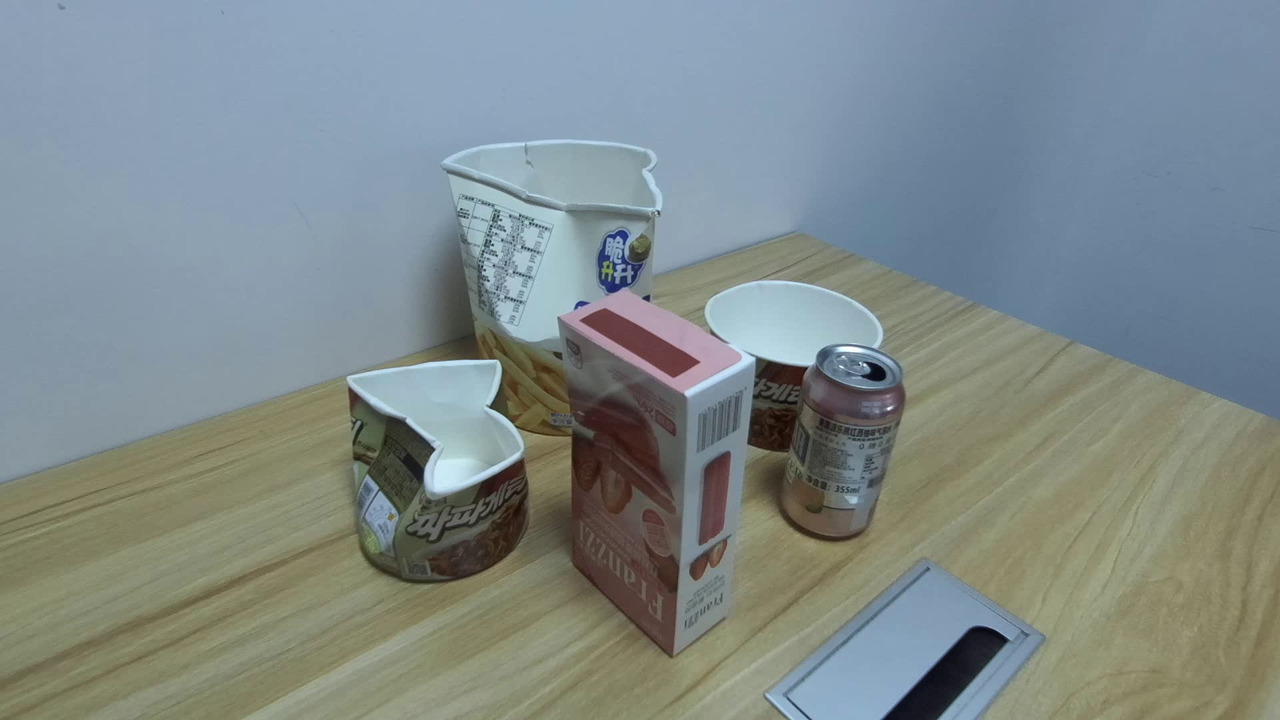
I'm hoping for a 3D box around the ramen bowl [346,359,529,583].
[{"bbox_3d":[-0.128,0.075,0.456,0.112,0.093,0.128,-8,34,-18],"label":"ramen bowl"}]

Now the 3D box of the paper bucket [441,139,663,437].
[{"bbox_3d":[-0.069,-0.058,0.576,0.163,0.202,0.169,0,28,-2],"label":"paper bucket"}]

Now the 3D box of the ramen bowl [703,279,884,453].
[{"bbox_3d":[0.118,0.007,0.580,0.140,0.095,0.140,2,32,-1],"label":"ramen bowl"}]

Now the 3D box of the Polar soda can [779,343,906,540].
[{"bbox_3d":[0.134,0.055,0.473,0.067,0.125,0.067,2,30,-1],"label":"Polar soda can"}]

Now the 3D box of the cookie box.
[{"bbox_3d":[0.003,0.062,0.393,0.049,0.187,0.104,-25,40,-35],"label":"cookie box"}]
